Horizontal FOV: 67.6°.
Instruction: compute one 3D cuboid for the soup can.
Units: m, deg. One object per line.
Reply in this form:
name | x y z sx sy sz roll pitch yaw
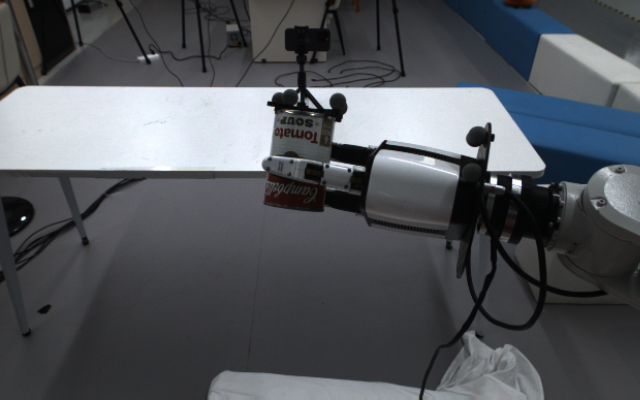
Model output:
soup can | -0.020 -0.042 0.529 0.067 0.101 0.067 7 4 0
